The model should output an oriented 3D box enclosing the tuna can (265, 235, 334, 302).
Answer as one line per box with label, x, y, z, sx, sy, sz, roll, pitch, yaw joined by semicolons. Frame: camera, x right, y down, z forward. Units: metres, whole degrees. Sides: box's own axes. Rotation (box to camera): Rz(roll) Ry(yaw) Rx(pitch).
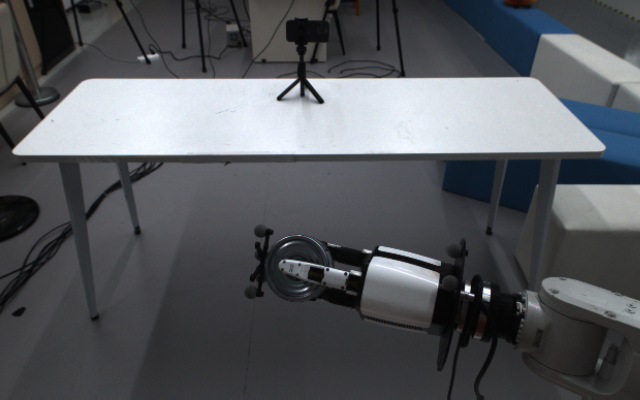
tuna can;-0.023;0.089;0.615;0.085;0.085;0.034;9;-6;10
